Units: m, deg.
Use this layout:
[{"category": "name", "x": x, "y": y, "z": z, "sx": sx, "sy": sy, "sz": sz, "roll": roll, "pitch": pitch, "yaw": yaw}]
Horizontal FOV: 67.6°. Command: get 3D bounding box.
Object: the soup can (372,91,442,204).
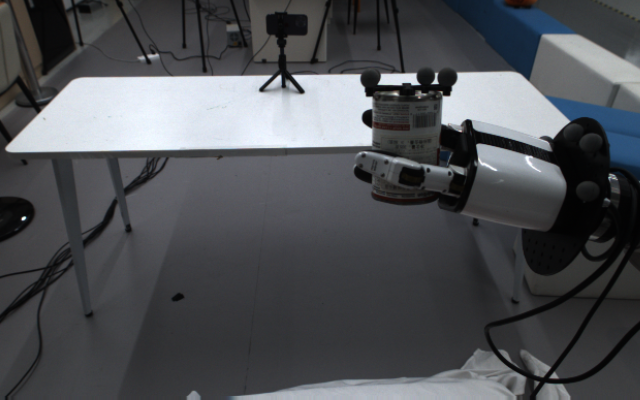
[{"category": "soup can", "x": 0.087, "y": -0.052, "z": 0.474, "sx": 0.067, "sy": 0.101, "sz": 0.067, "roll": -1, "pitch": 17, "yaw": 0}]
